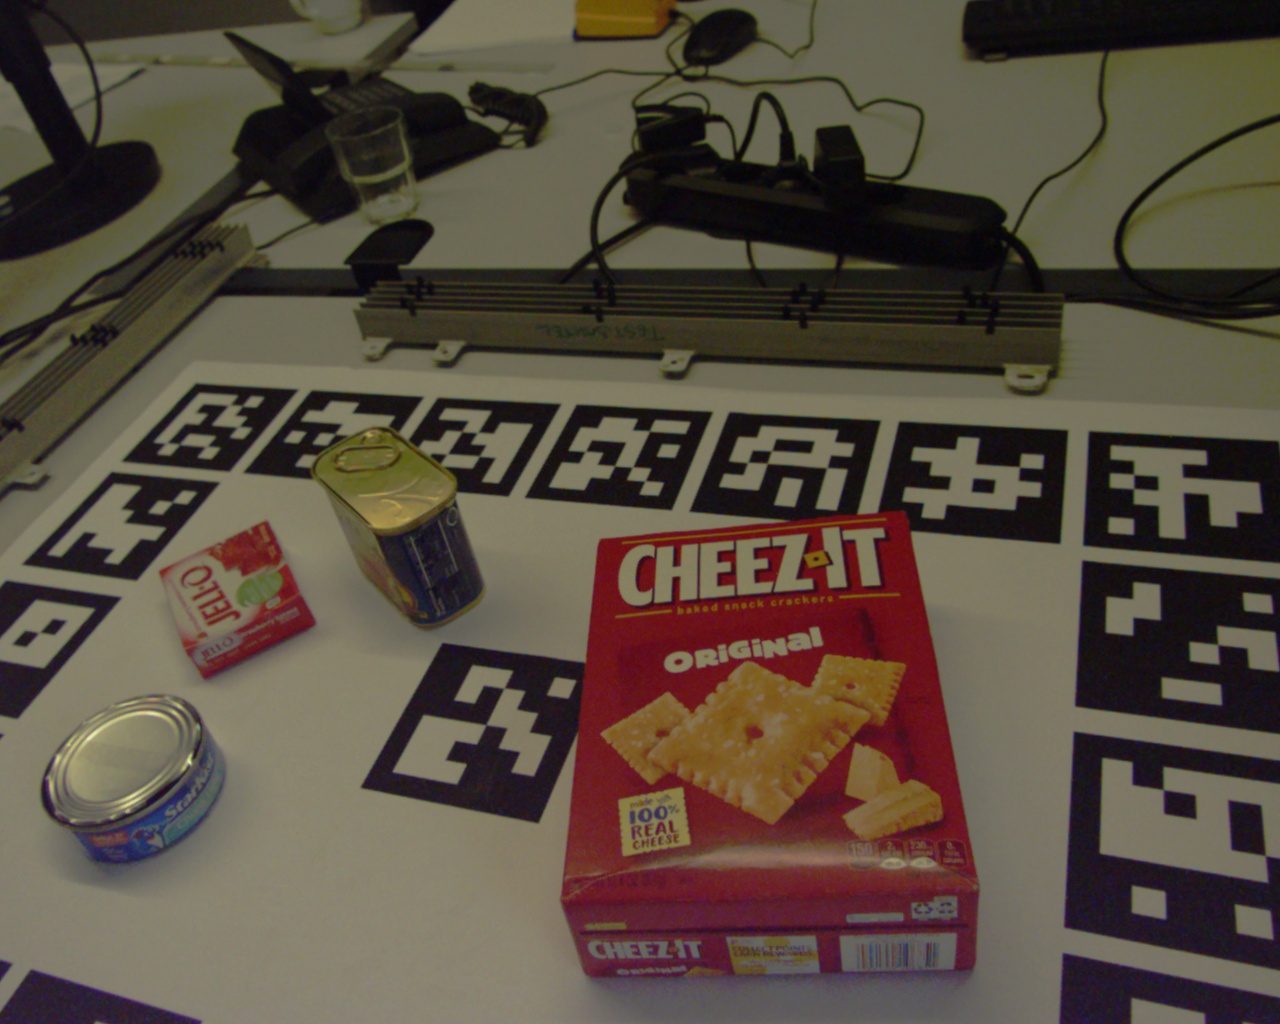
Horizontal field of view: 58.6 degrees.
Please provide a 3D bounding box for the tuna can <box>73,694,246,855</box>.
[{"bbox_3d":[-0.264,0.145,0.631,0.086,0.033,0.086,-8,42,7],"label":"tuna can"}]

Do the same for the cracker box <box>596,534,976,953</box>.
[{"bbox_3d":[0.063,0.106,0.579,0.164,0.071,0.214,-6,38,5],"label":"cracker box"}]

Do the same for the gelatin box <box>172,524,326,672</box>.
[{"bbox_3d":[-0.256,0.054,0.746,0.073,0.030,0.090,-25,43,-21],"label":"gelatin box"}]

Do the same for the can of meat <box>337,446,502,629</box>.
[{"bbox_3d":[-0.139,0.017,0.731,0.057,0.083,0.103,-35,44,-28],"label":"can of meat"}]
